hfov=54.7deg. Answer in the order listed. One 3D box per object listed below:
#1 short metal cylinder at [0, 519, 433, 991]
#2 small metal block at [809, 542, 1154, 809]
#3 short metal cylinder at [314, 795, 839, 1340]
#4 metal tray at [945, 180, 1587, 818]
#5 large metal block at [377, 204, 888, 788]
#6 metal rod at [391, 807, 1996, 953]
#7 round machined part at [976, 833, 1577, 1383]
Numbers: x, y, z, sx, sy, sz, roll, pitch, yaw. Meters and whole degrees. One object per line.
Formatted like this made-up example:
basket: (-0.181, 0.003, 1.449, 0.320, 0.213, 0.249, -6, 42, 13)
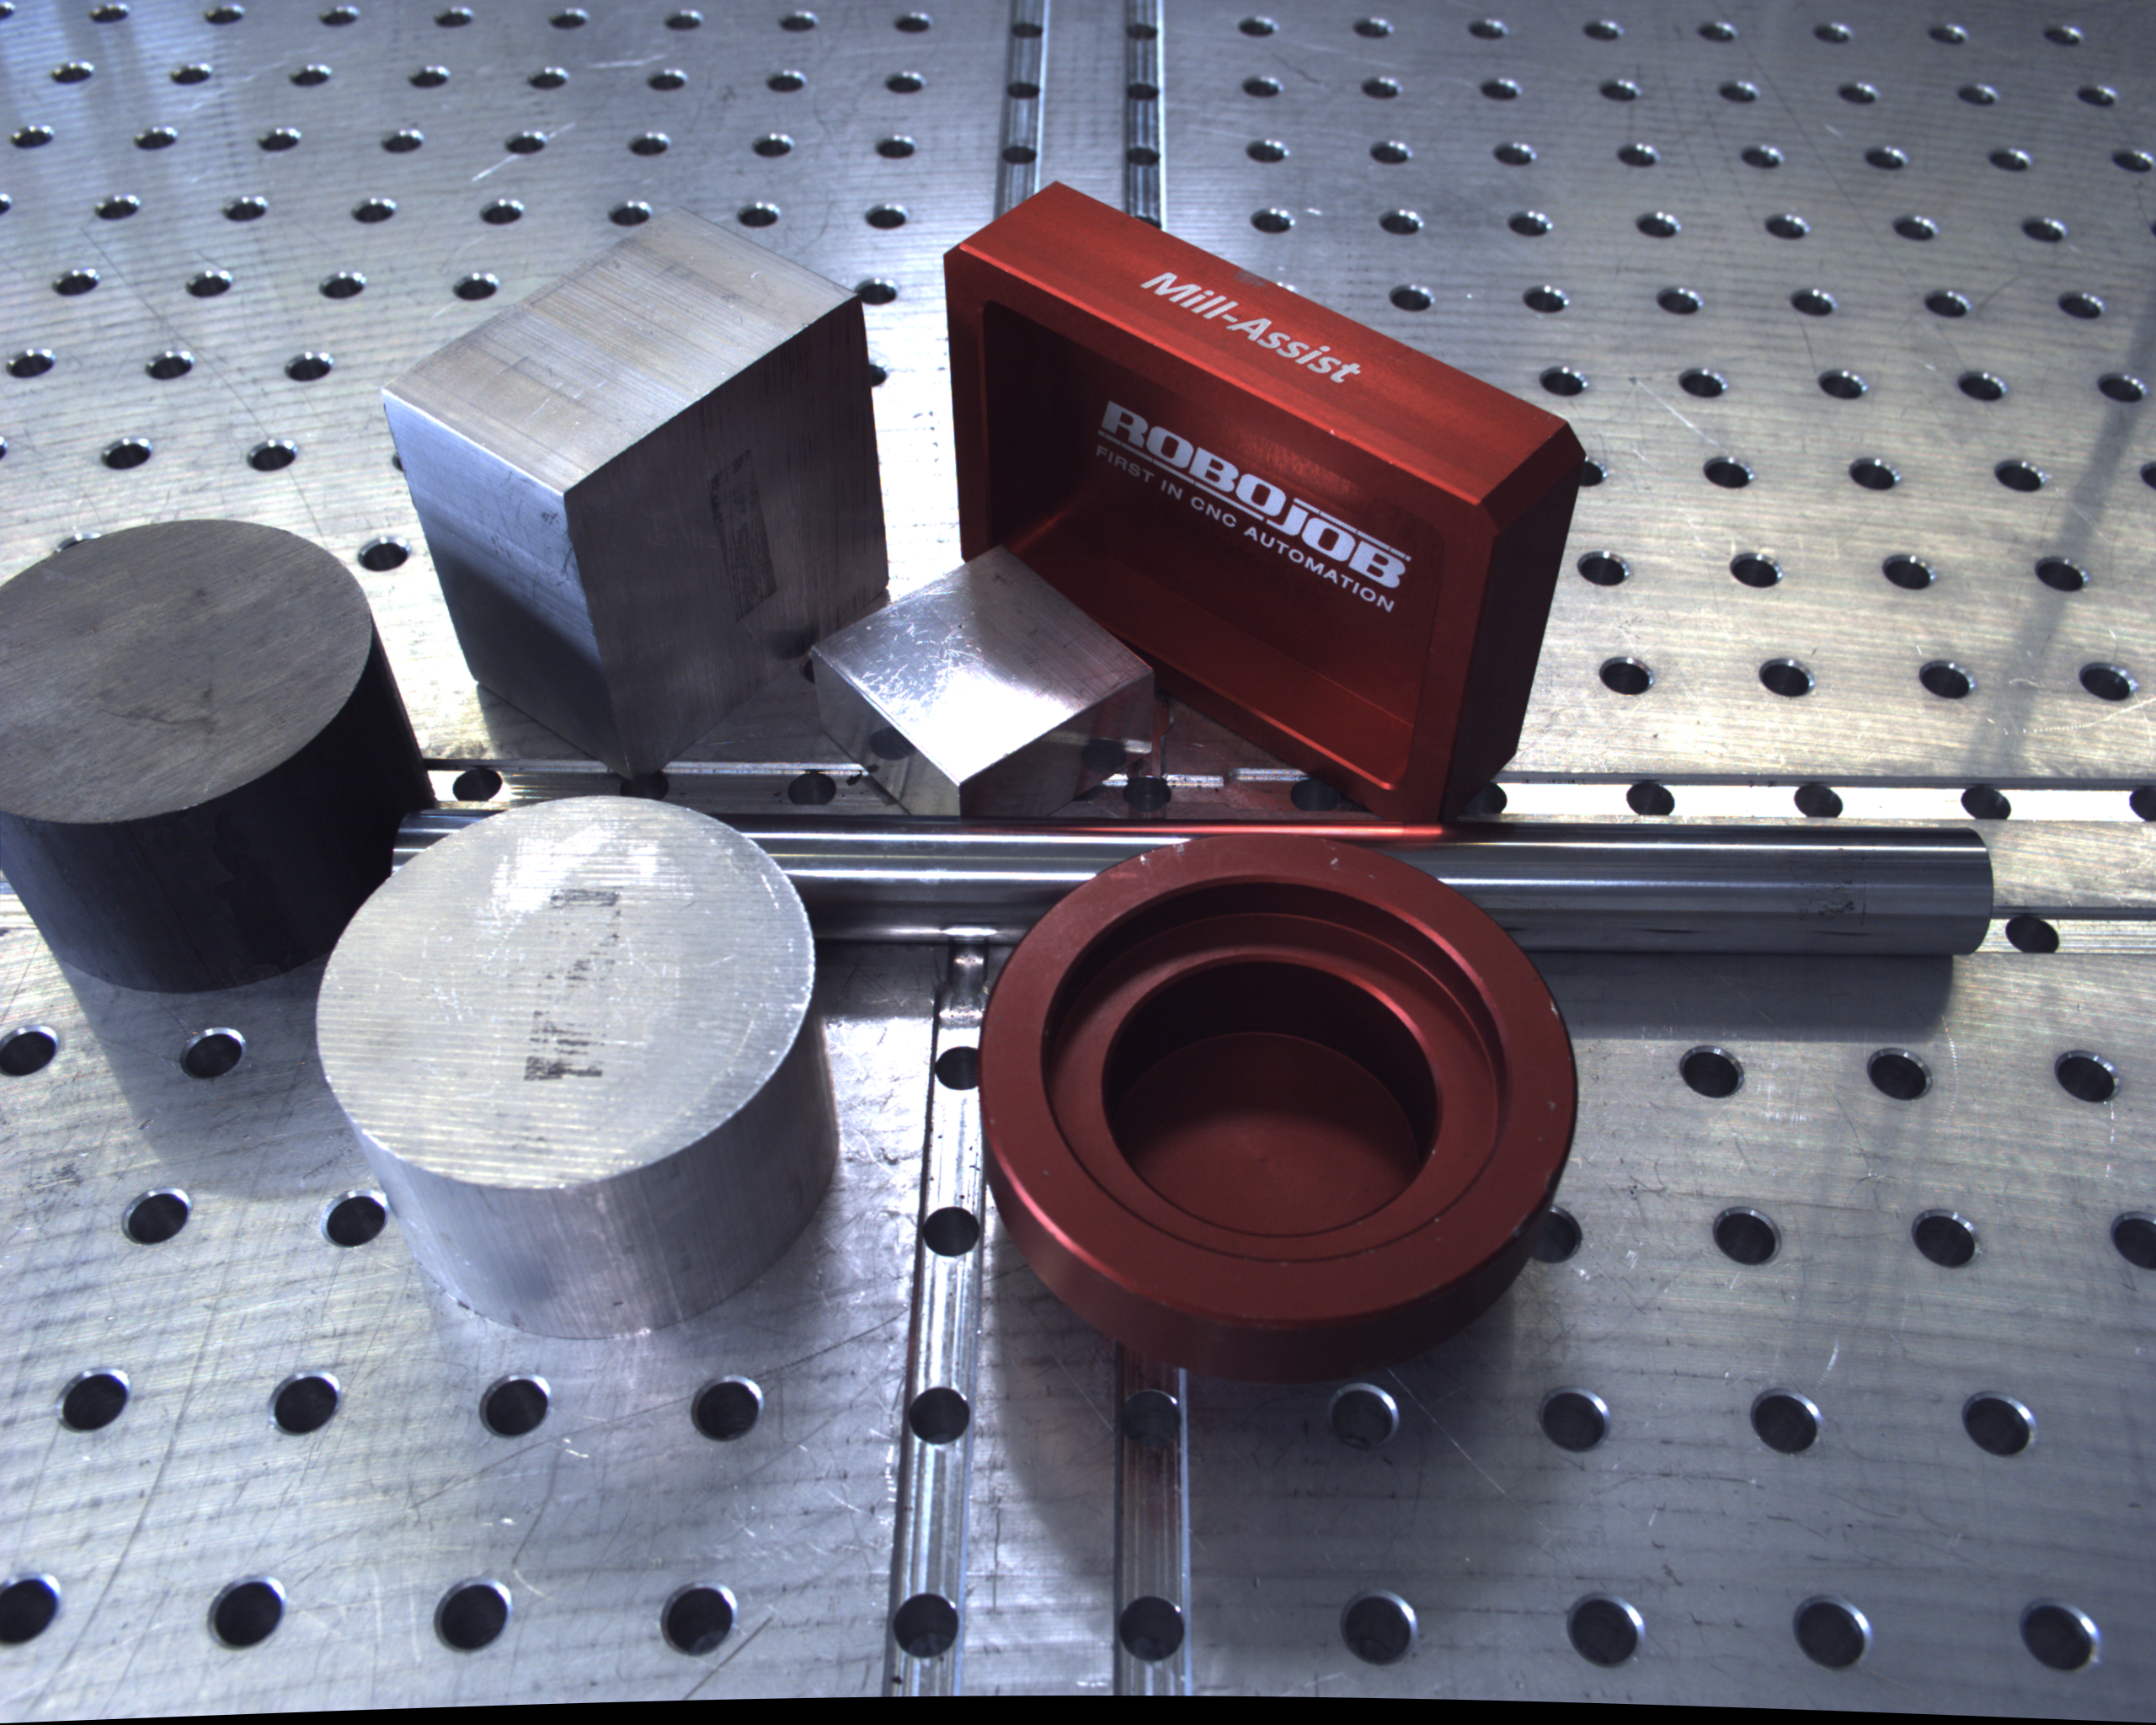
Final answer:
short metal cylinder: (-0.173, -0.022, 0.408, 0.080, 0.050, 0.080, 0, 50, 0)
small metal block: (-0.020, -0.034, 0.436, 0.050, 0.025, 0.050, -32, 57, -24)
short metal cylinder: (-0.084, 0.035, 0.361, 0.080, 0.050, 0.080, 0, 50, 0)
metal tray: (0.033, -0.072, 0.425, 0.130, 0.090, 0.030, 33, 58, 24)
large metal block: (-0.088, -0.076, 0.435, 0.050, 0.080, 0.080, 32, 57, 23)
metal rod: (0.022, 0.003, 0.405, 0.302, 0.025, 0.025, 1, 50, 0)
round machined part: (0.033, 0.045, 0.359, 0.099, 0.042, 0.098, 0, 50, 0)
